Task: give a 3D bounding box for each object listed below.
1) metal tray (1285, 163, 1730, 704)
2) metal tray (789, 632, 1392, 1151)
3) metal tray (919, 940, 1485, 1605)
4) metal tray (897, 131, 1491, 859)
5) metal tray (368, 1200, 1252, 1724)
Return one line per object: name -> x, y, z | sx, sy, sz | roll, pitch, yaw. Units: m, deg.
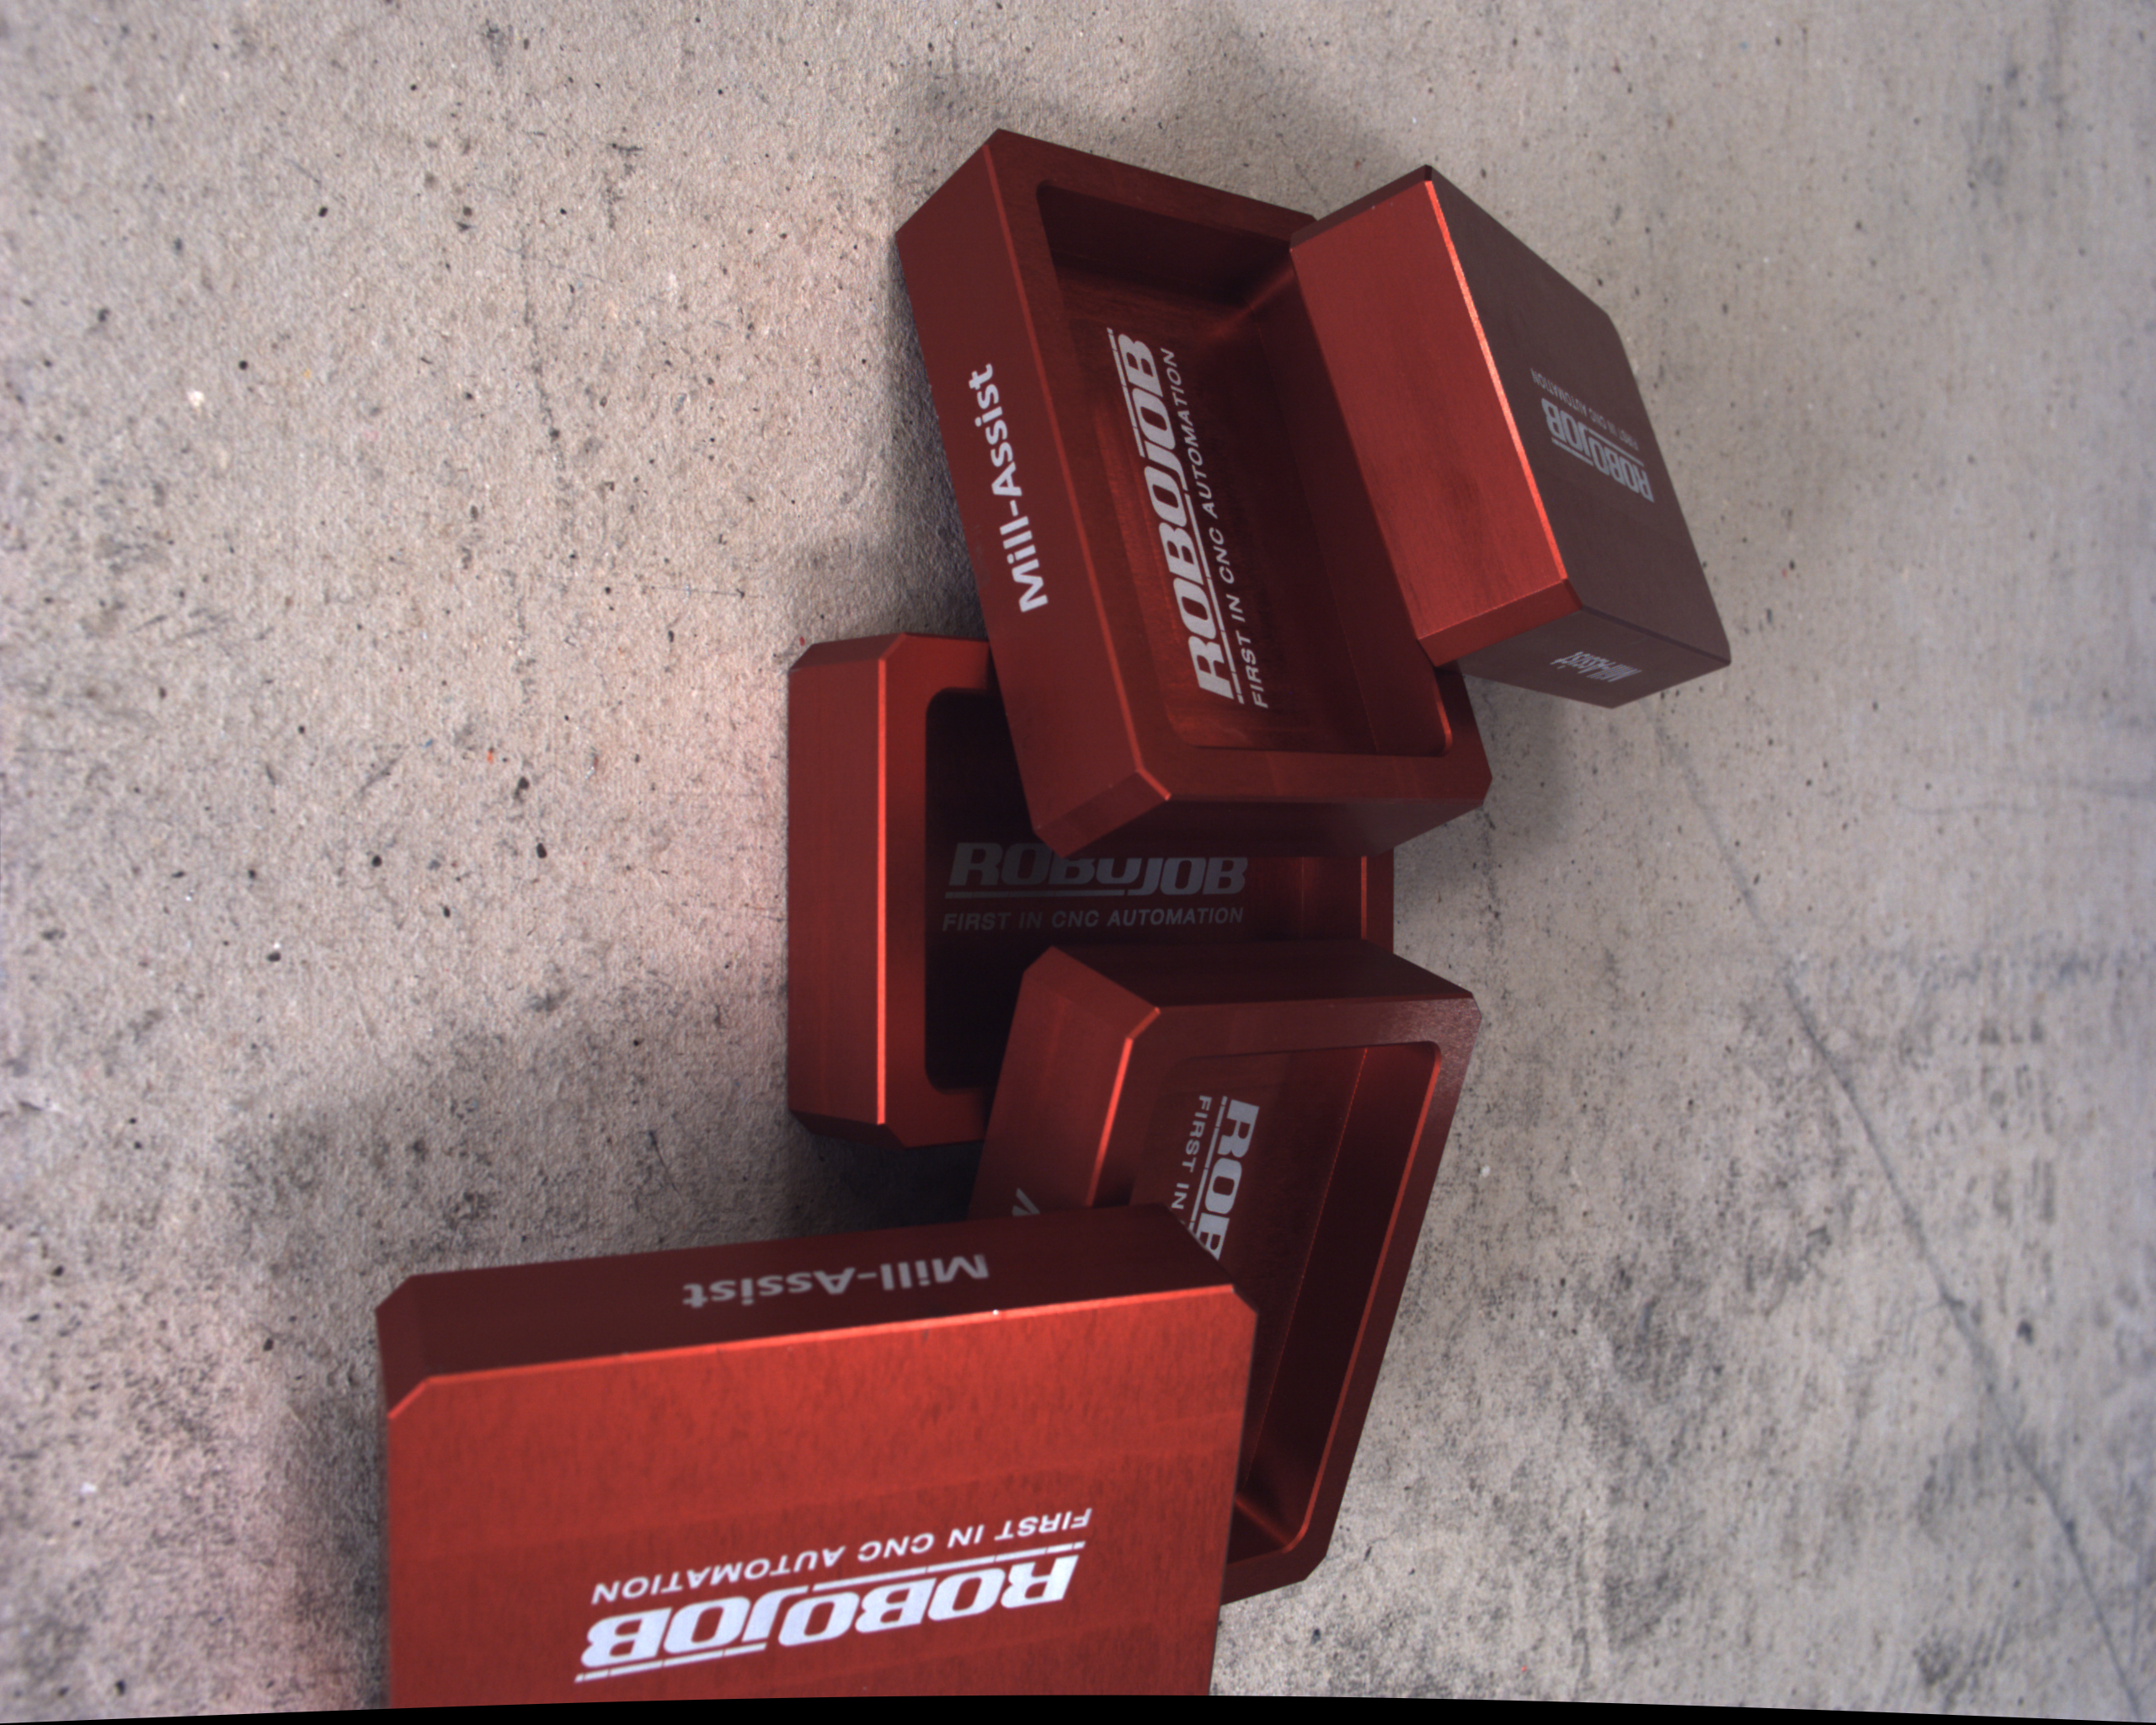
metal tray -> 0.095, -0.084, 0.440 | 0.131, 0.030, 0.090 | 0, 70, -60
metal tray -> 0.007, 0.005, 0.409 | 0.131, 0.030, 0.089 | 0, 90, -40
metal tray -> 0.021, 0.080, 0.394 | 0.091, 0.030, 0.129 | 1, 108, -40
metal tray -> 0.023, -0.067, 0.395 | 0.091, 0.030, 0.129 | -1, 71, -40
metal tray -> -0.041, 0.106, 0.330 | 0.131, 0.030, 0.089 | -2, 108, -22
